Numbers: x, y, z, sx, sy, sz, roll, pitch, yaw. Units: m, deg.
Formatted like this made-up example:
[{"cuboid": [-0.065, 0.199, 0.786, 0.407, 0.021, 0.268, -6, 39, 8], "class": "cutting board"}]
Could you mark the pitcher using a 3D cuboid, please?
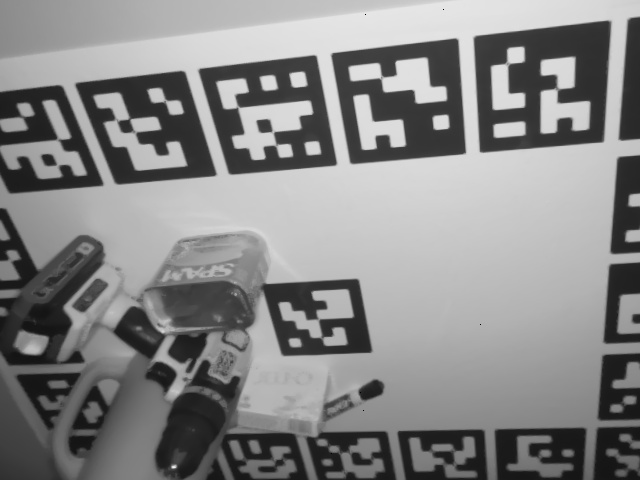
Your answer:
[{"cuboid": [-0.191, 0.227, 0.704, 0.190, 0.244, 0.131, 18, 119, -10], "class": "pitcher"}]

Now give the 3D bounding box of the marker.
[{"cuboid": [0.026, 0.192, 0.773, 0.119, 0.020, 0.020, -33, 111, 23], "class": "marker"}]

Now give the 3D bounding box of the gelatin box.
[{"cuboid": [-0.042, 0.165, 0.738, 0.089, 0.074, 0.030, 3, 118, 9], "class": "gelatin box"}]

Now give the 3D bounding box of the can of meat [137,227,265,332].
[{"cuboid": [-0.108, 0.036, 0.658, 0.101, 0.084, 0.057, -8, 121, 14], "class": "can of meat"}]

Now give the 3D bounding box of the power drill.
[{"cuboid": [-0.165, 0.122, 0.664, 0.187, 0.187, 0.056, 26, 119, 0], "class": "power drill"}]
